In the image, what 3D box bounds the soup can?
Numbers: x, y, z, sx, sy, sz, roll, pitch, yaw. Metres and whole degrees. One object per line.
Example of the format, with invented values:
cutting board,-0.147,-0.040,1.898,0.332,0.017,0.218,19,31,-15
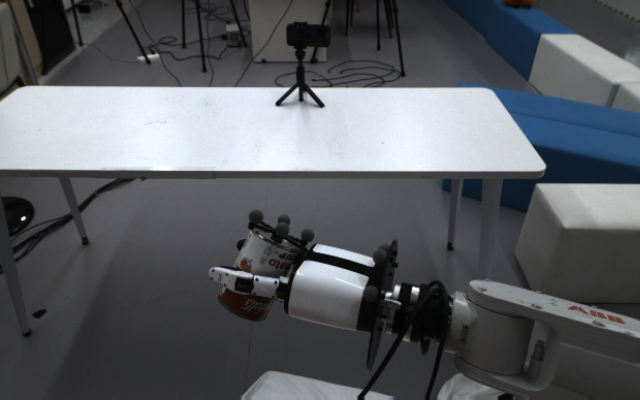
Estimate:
soup can,-0.076,0.091,0.608,0.067,0.101,0.067,27,6,-3
